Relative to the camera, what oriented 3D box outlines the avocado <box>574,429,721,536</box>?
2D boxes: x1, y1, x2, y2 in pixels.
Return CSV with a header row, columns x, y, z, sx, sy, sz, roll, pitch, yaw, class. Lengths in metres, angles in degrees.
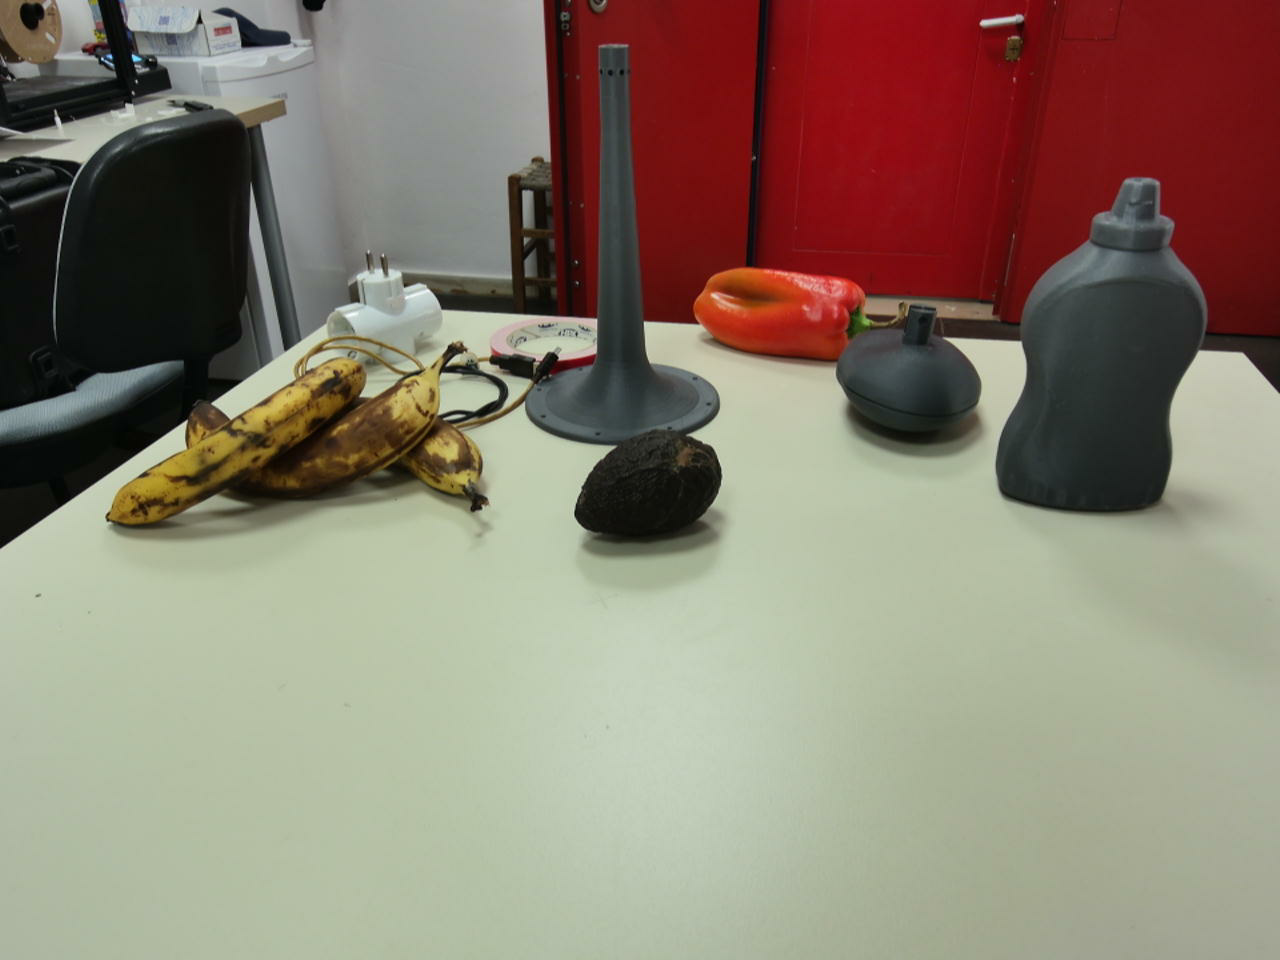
x,y,z,sx,sy,sz,roll,pitch,yaw,class
0.004,0.002,0.602,0.092,0.062,0.062,-6,27,-11,avocado
